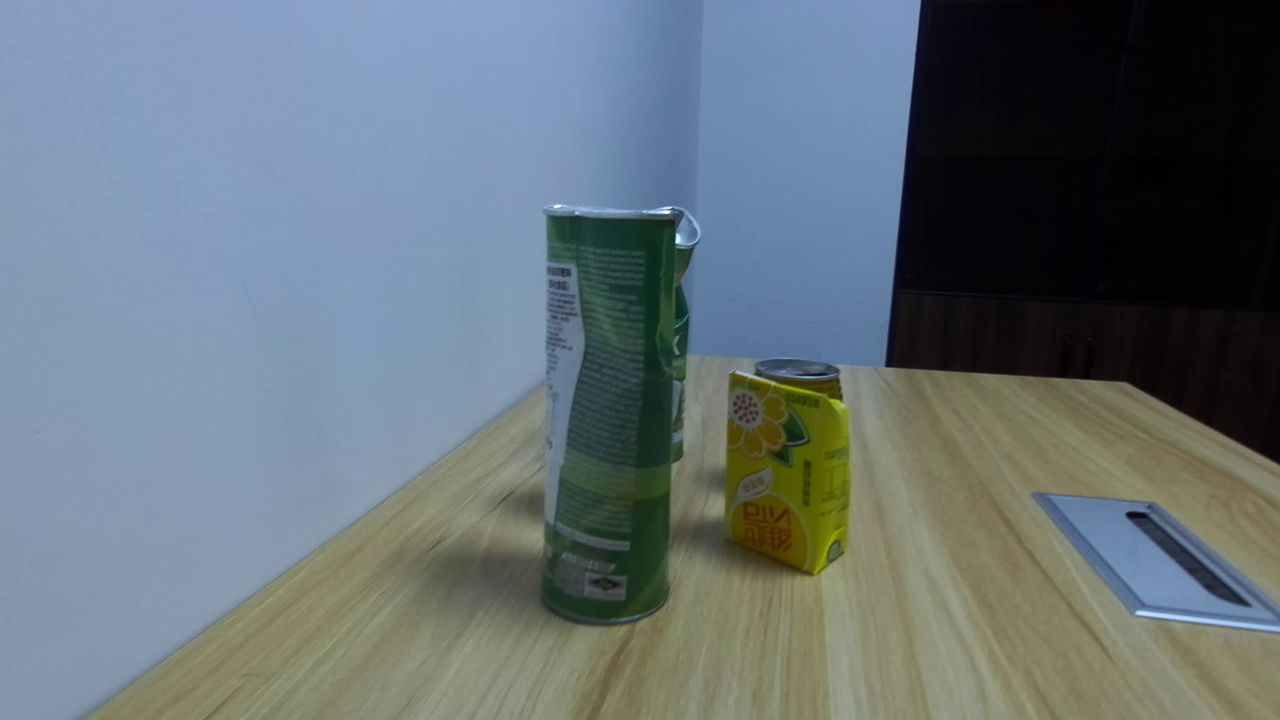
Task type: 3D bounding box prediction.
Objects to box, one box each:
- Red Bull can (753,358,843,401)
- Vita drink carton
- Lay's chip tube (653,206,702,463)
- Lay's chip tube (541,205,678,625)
[{"bbox_3d":[0.111,0.049,0.513,0.067,0.093,0.067,2,13,0],"label":"Red Bull can"},{"bbox_3d":[0.089,0.060,0.415,0.071,0.109,0.047,14,21,41],"label":"Vita drink carton"},{"bbox_3d":[0.012,-0.015,0.555,0.079,0.199,0.070,-11,25,-41],"label":"Lay's chip tube"},{"bbox_3d":[-0.017,0.027,0.355,0.075,0.199,0.069,4,13,11],"label":"Lay's chip tube"}]
